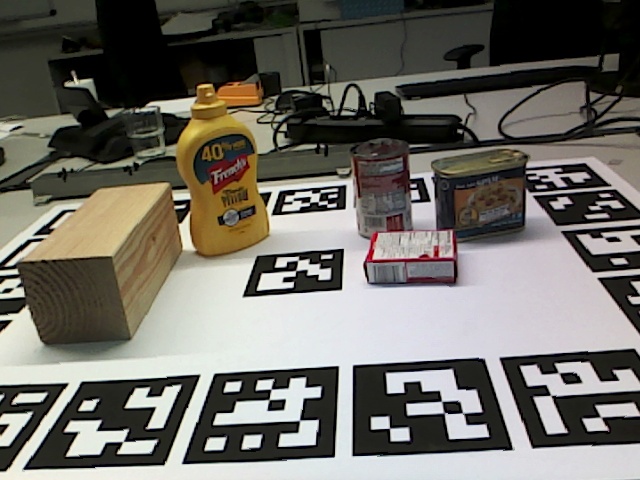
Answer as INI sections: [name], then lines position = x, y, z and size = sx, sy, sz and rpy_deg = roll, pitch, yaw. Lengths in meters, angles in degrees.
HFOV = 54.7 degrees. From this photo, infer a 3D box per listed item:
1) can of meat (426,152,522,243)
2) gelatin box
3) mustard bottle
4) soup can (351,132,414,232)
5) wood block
[can of meat]
position = 0.172, -0.048, 0.702
size = 0.101, 0.083, 0.058
rpy_deg = -8, 25, -9
[gelatin box]
position = 0.094, 0.017, 0.633
size = 0.090, 0.030, 0.073
rpy_deg = -2, 27, 16
[mustard bottle]
position = -0.122, -0.079, 0.725
size = 0.096, 0.191, 0.059
rpy_deg = -14, 24, -19
[soup can]
position = 0.075, -0.067, 0.724
size = 0.068, 0.102, 0.068
rpy_deg = -6, 26, 3
[wood block]
position = -0.220, 0.014, 0.657
size = 0.091, 0.089, 0.206
rpy_deg = -2, 21, 5
